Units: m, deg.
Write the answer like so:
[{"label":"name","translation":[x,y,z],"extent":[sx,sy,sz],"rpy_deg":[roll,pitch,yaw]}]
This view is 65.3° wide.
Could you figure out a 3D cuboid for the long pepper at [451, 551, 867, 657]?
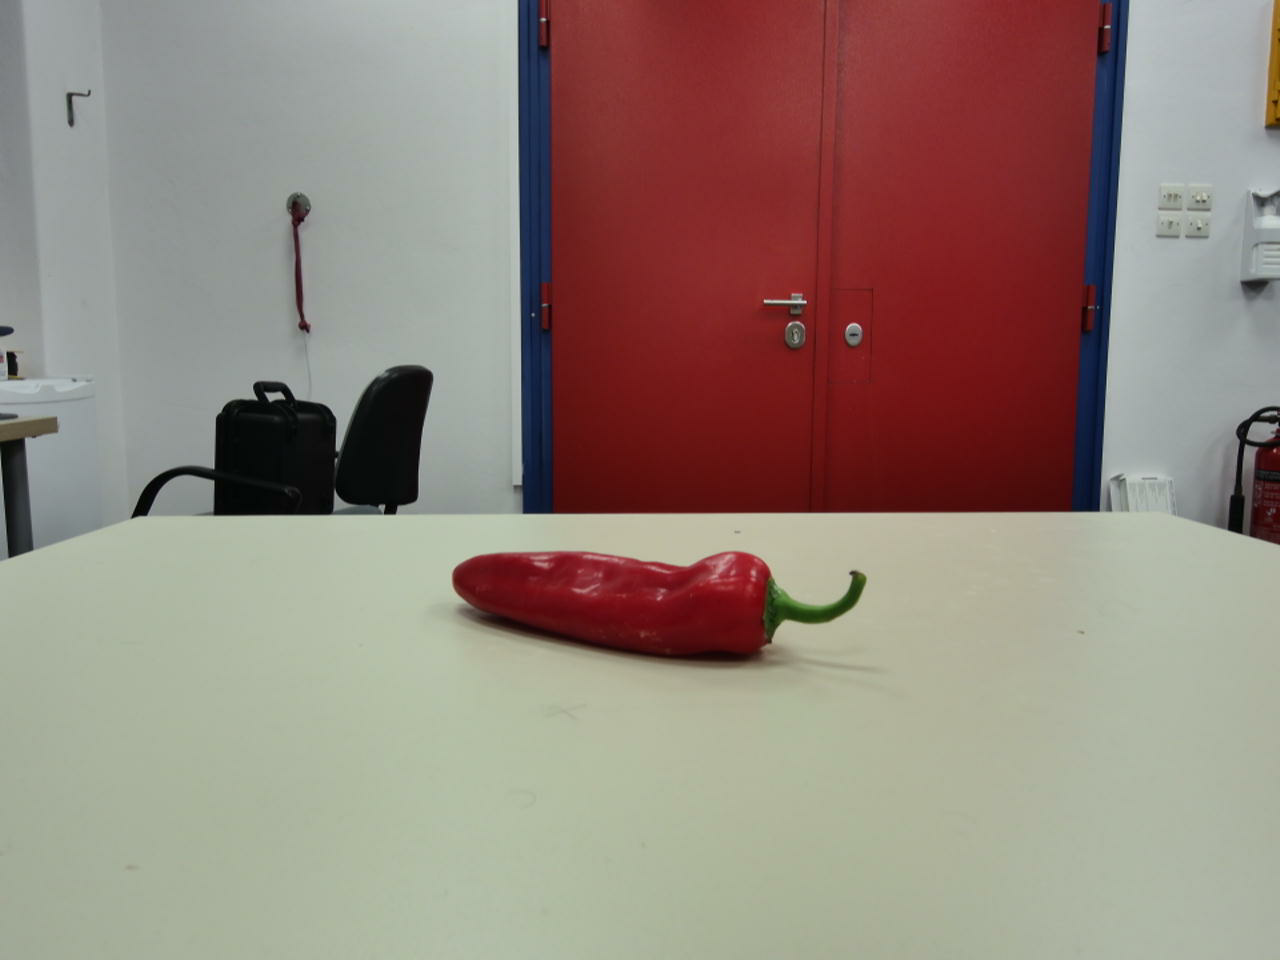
[{"label":"long pepper","translation":[-0.007,0.050,0.440],"extent":[0.211,0.043,0.050],"rpy_deg":[2,5,31]}]
